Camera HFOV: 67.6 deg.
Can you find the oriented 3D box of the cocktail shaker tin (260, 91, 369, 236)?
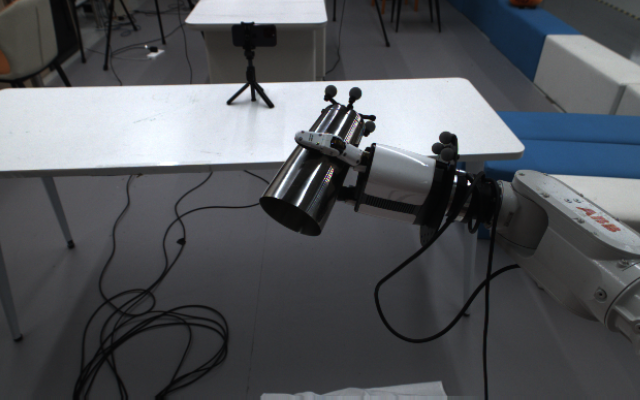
[{"bbox_3d":[0.001,-0.050,0.660,0.093,0.093,0.170,18,66,21],"label":"cocktail shaker tin"}]
